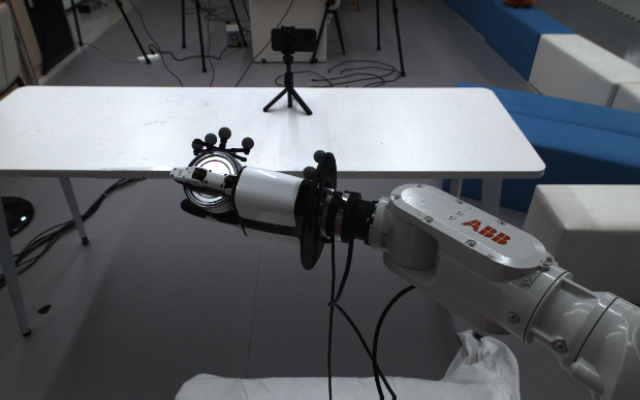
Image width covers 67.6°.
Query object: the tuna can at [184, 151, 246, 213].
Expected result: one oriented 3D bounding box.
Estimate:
[{"bbox_3d":[-0.146,-0.025,0.684,0.085,0.034,0.085,-5,71,14],"label":"tuna can"}]
